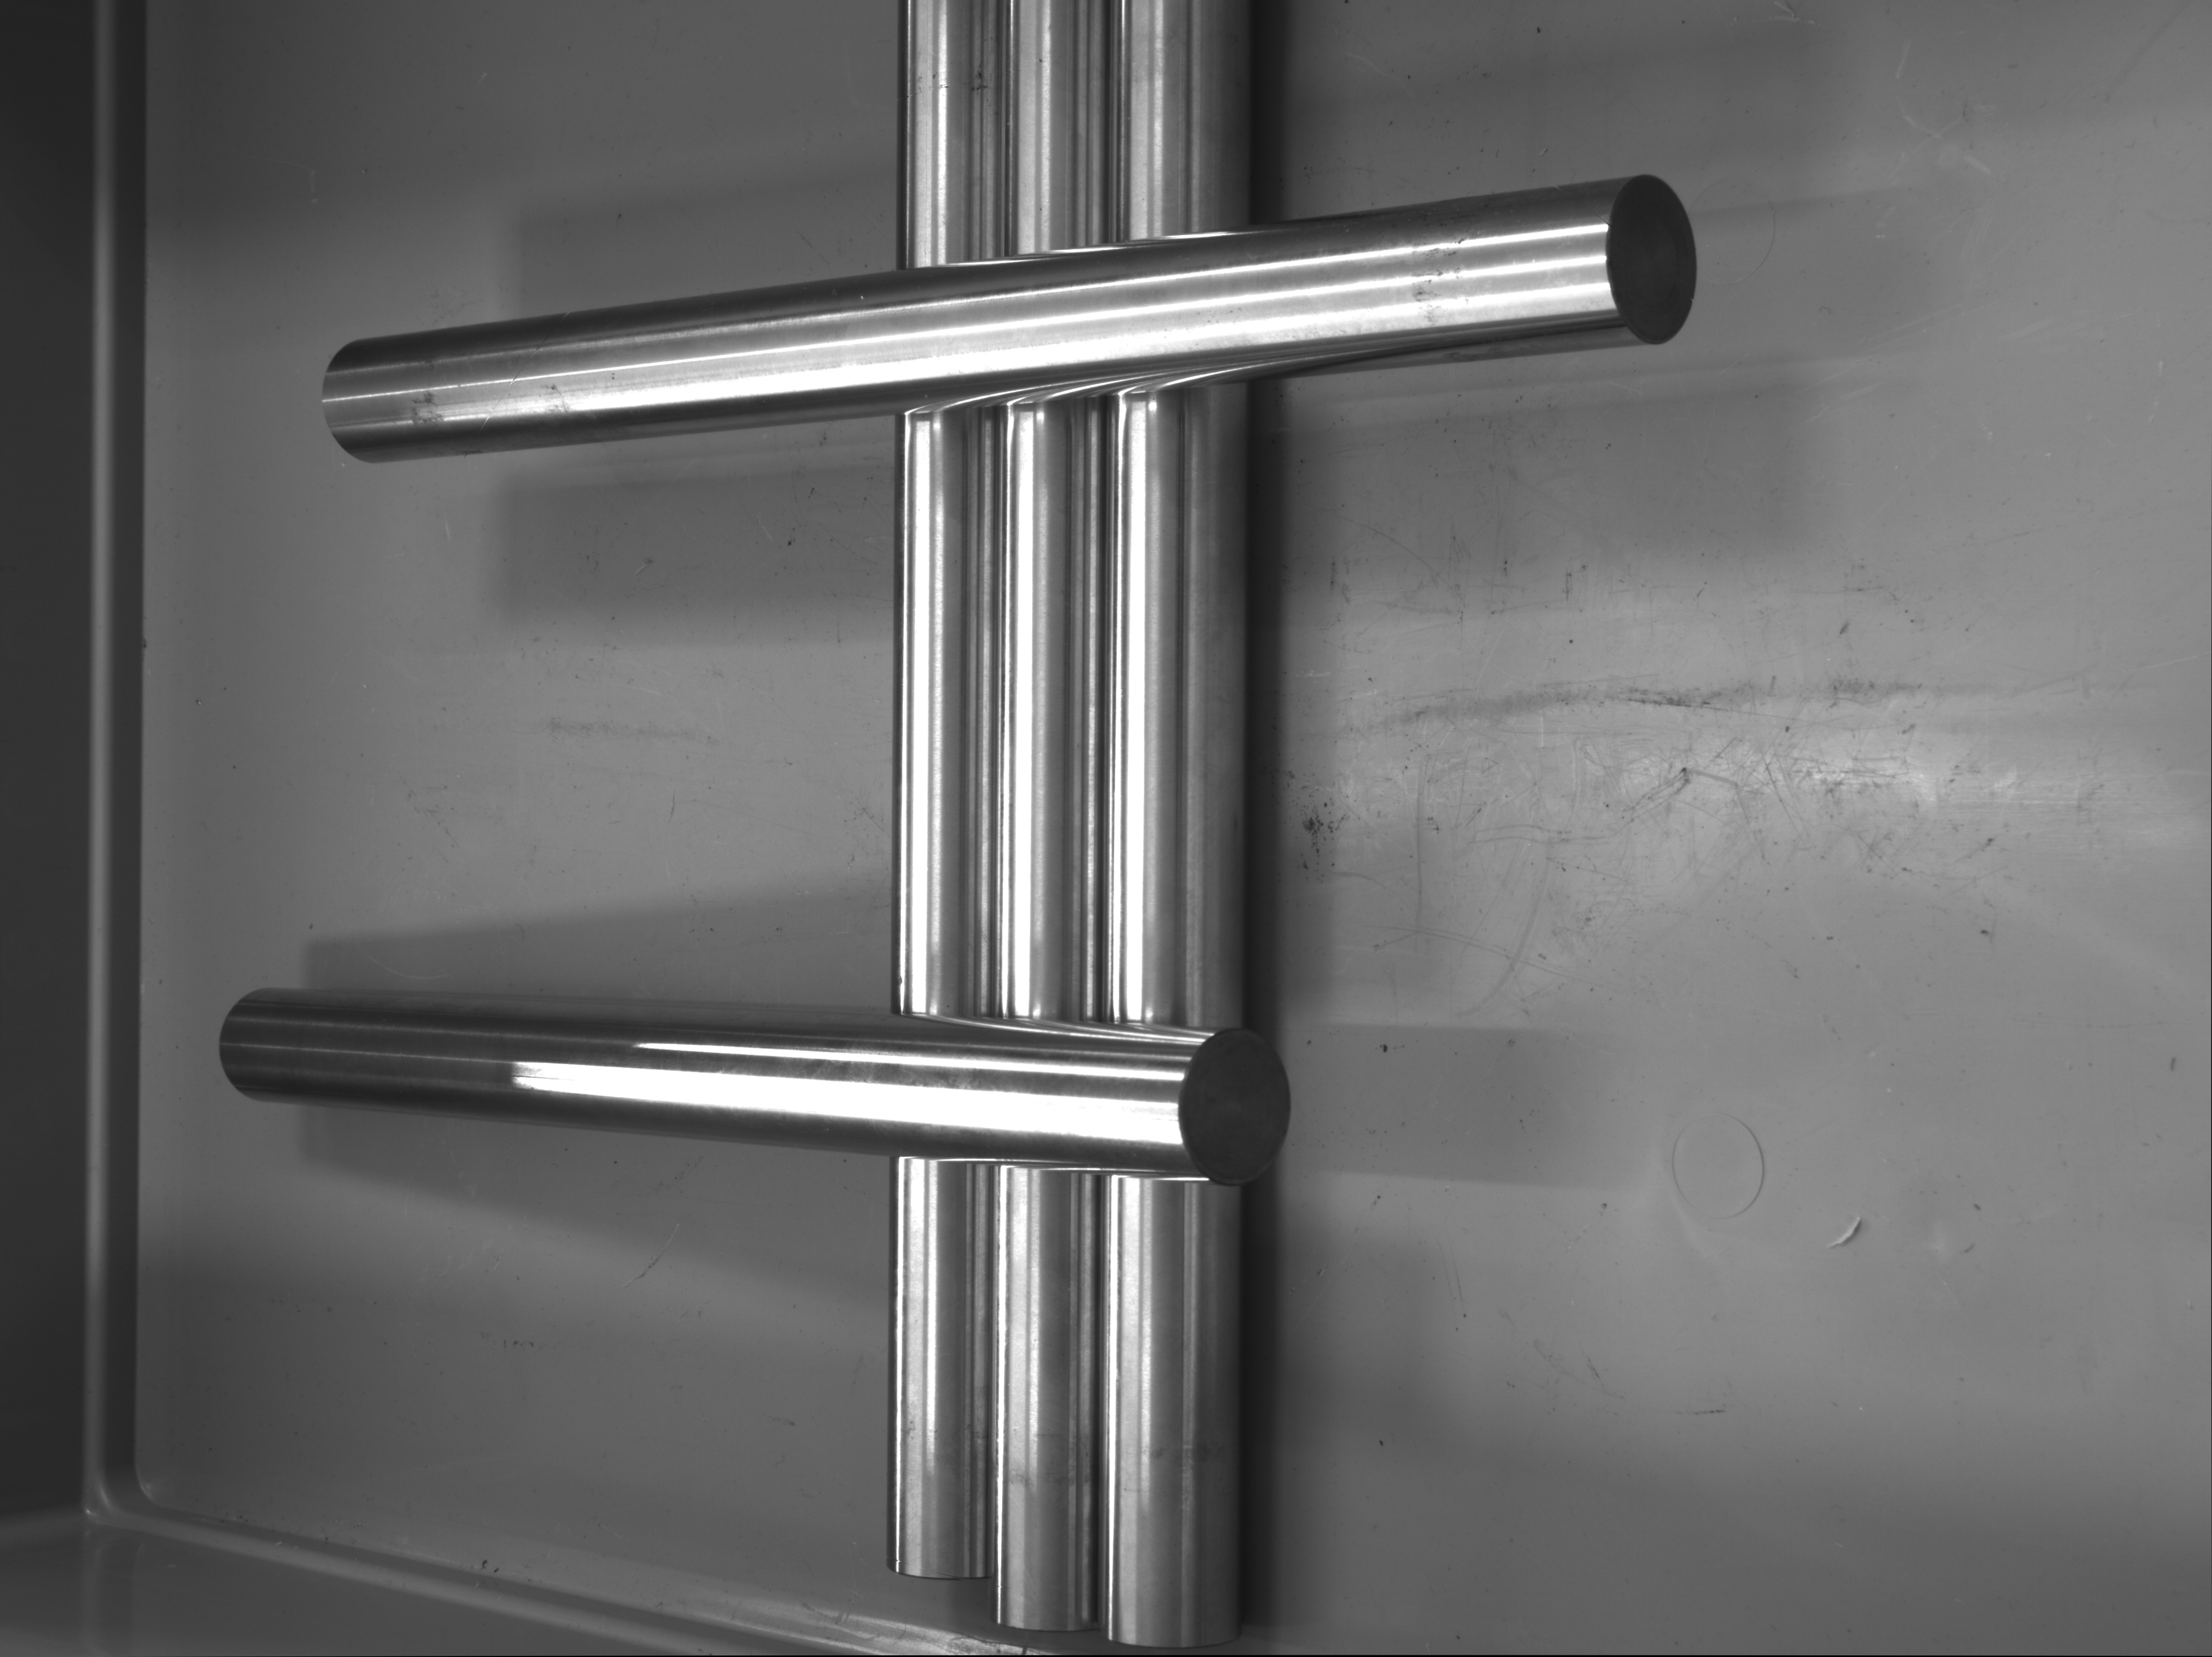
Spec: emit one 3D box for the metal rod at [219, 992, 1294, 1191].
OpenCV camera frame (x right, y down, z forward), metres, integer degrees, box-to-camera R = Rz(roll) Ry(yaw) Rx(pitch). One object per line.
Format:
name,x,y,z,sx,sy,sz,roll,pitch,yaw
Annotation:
metal rod,-0.080,0.046,0.688,0.299,0.025,0.025,-1,89,47

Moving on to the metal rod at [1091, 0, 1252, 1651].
metal rod,0.011,-0.011,0.634,0.025,0.025,0.300,1,90,40

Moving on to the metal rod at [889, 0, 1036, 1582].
metal rod,-0.026,-0.016,0.667,0.025,0.025,0.300,1,90,40

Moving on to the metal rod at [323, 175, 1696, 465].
metal rod,-0.033,-0.085,0.639,0.299,0.025,0.025,0,90,40

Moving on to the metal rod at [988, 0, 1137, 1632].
metal rod,-0.007,-0.010,0.651,0.025,0.025,0.300,1,90,40
